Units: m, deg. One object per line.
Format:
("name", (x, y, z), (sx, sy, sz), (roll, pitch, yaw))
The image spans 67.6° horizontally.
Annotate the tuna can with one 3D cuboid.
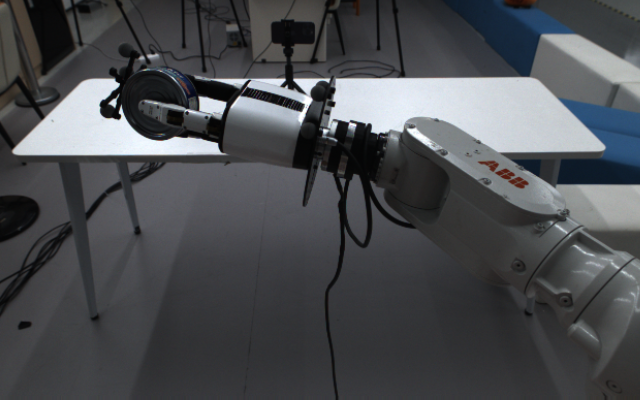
("tuna can", (-0.191, -0.116, 0.580), (0.085, 0.085, 0.034), (6, 20, 6))
